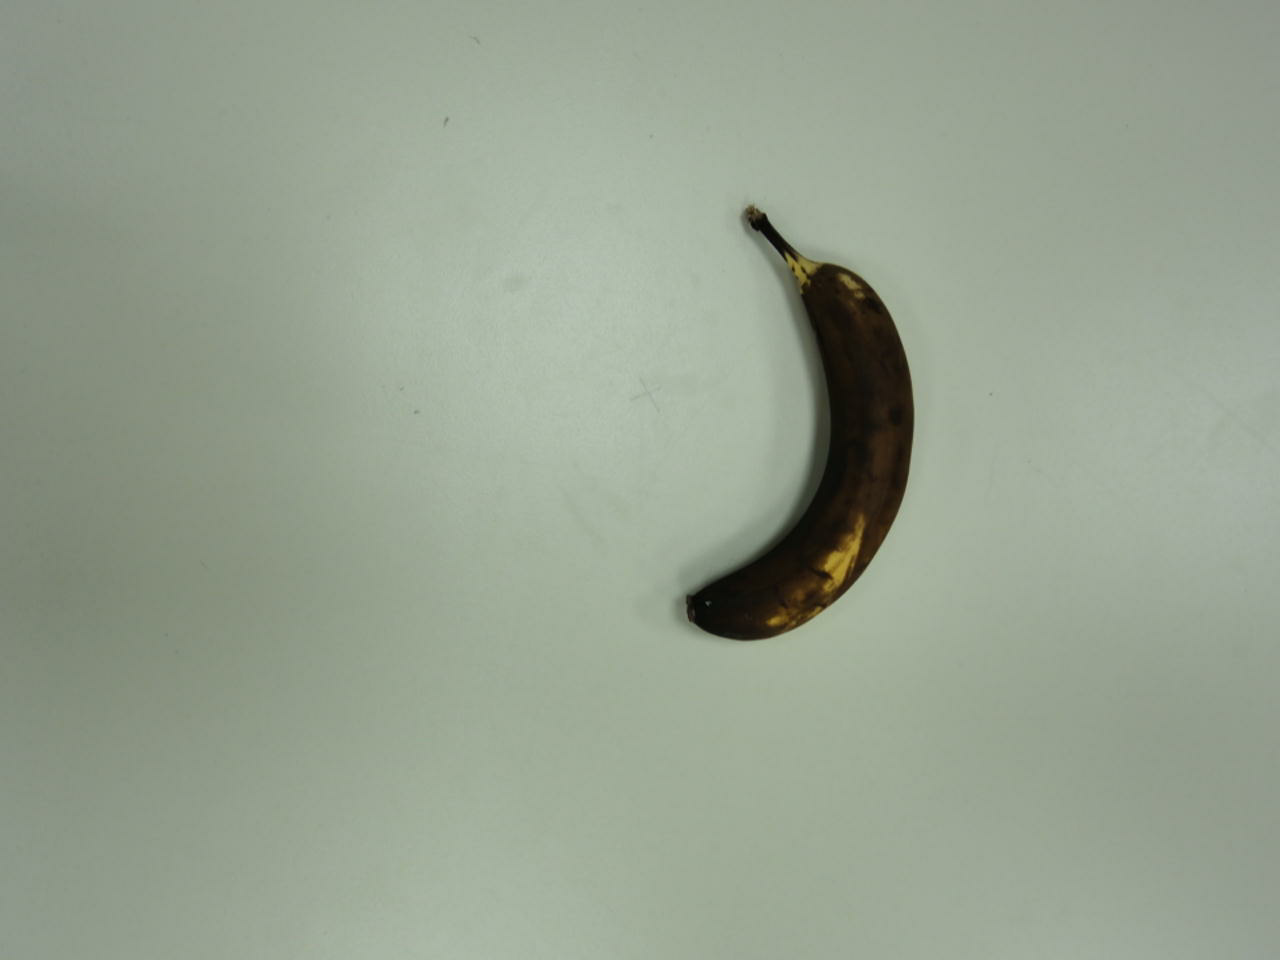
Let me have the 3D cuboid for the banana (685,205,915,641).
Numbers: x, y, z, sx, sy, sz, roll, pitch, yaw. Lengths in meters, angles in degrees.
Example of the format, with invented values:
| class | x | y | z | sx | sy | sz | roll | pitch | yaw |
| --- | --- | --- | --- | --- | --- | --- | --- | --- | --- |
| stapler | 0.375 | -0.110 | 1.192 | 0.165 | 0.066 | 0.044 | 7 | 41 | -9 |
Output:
| class | x | y | z | sx | sy | sz | roll | pitch | yaw |
| --- | --- | --- | --- | --- | --- | --- | --- | --- | --- |
| banana | 0.077 | -0.020 | 0.438 | 0.091 | 0.034 | 0.188 | 11 | 88 | -11 |
